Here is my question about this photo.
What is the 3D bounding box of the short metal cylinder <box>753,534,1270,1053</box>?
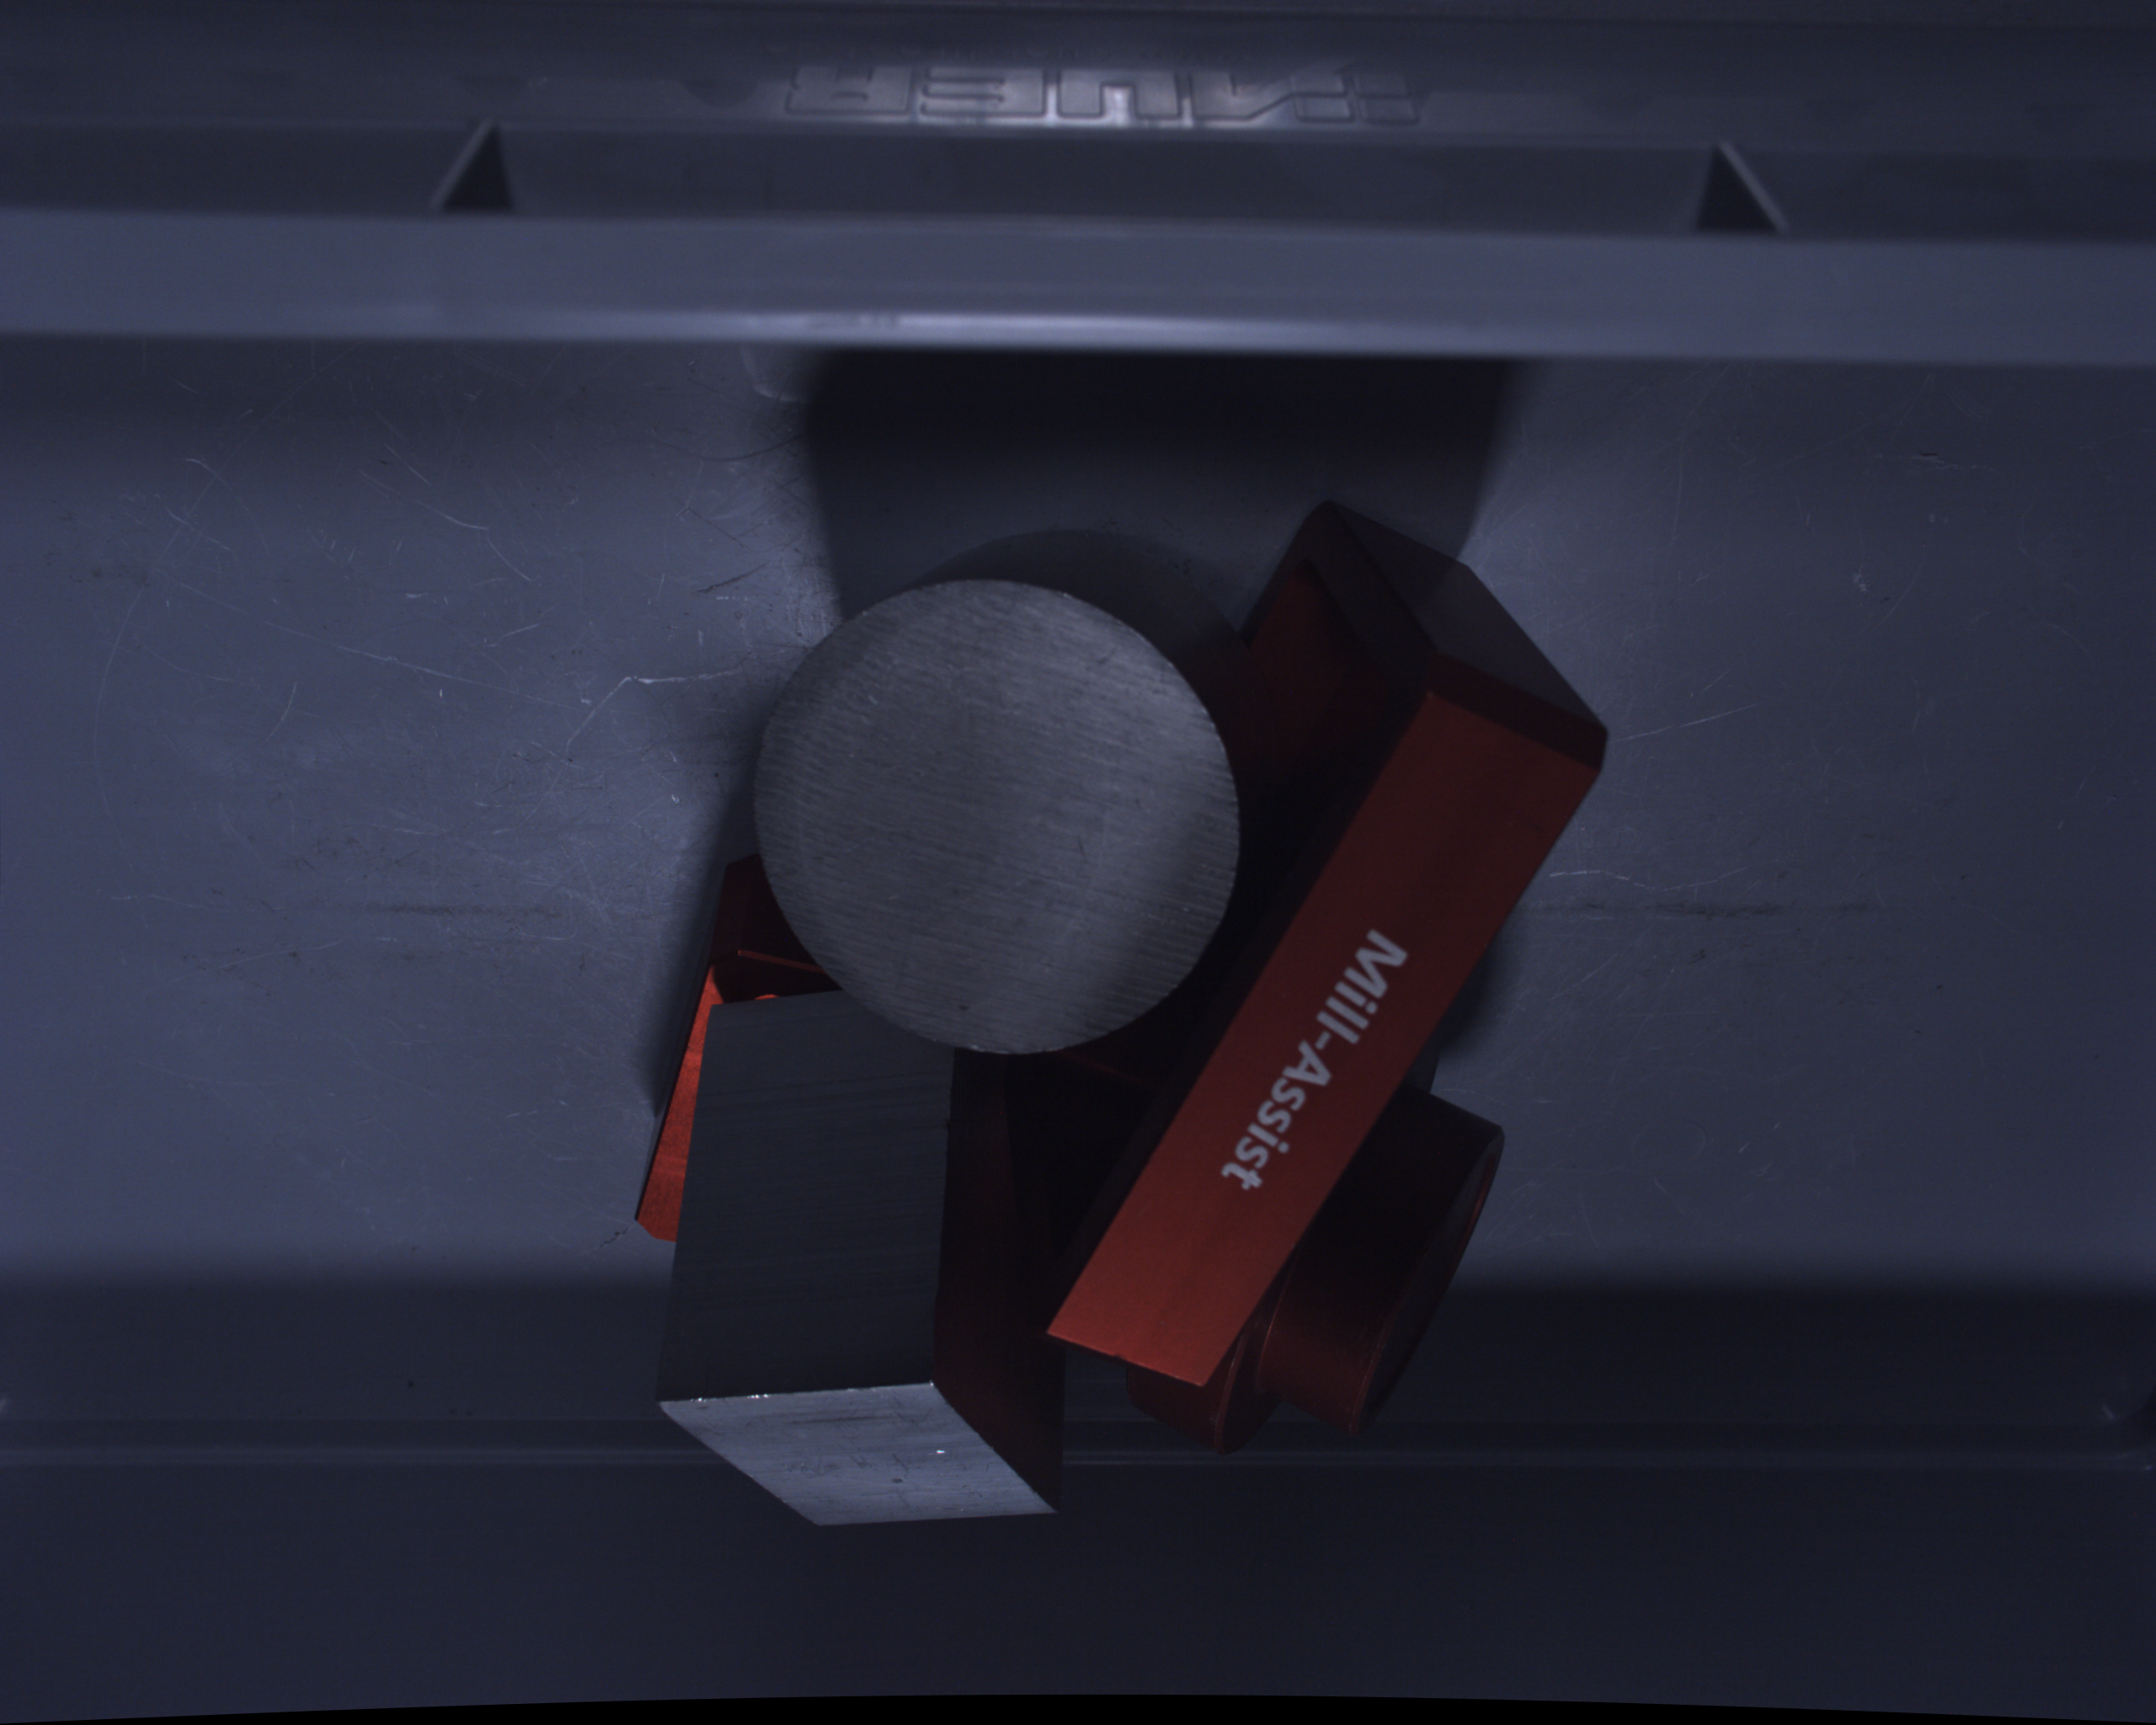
[{"bbox_3d":[-0.009,-0.014,0.359,0.080,0.050,0.079,3,107,10],"label":"short metal cylinder"}]

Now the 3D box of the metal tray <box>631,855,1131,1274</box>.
[{"bbox_3d":[-0.022,0.054,0.448,0.131,0.030,0.089,13,129,-12],"label":"metal tray"}]

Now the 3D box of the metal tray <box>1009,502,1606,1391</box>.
[{"bbox_3d":[0.031,0.012,0.355,0.030,0.090,0.129,23,111,-15],"label":"metal tray"}]

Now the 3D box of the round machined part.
[{"bbox_3d":[0.053,0.076,0.420,0.042,0.098,0.097,25,133,19],"label":"round machined part"}]

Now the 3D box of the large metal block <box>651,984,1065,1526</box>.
[{"bbox_3d":[-0.037,0.077,0.406,0.050,0.080,0.080,-7,146,14],"label":"large metal block"}]
